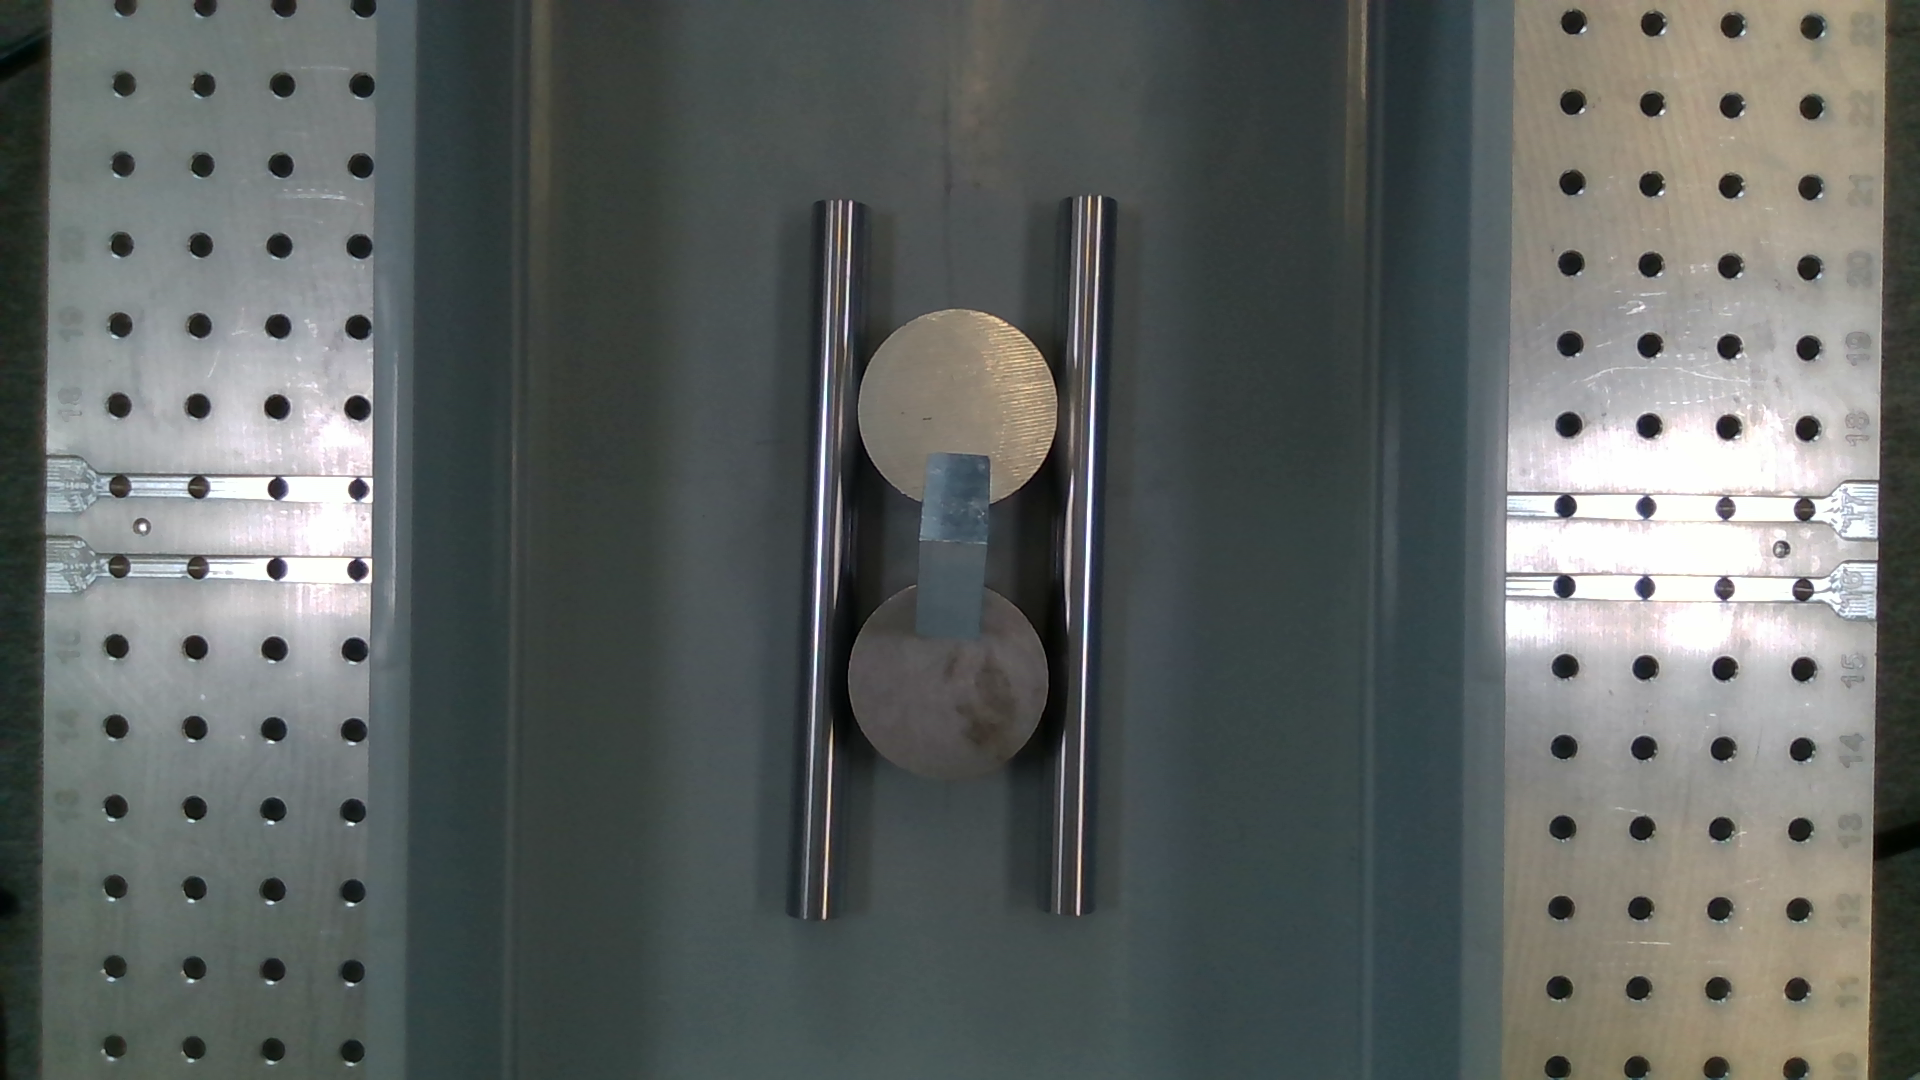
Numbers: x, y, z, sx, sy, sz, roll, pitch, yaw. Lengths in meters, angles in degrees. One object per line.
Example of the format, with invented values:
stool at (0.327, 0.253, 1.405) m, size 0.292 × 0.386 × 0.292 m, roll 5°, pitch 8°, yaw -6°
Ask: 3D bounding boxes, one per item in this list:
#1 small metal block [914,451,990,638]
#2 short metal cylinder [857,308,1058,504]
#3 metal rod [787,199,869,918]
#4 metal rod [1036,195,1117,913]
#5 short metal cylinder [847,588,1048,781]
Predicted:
small metal block at (-0.003, 0.002, 0.528) m, size 0.025 × 0.050 × 0.050 m, roll 3°, pitch 133°, yaw -1°
short metal cylinder at (-0.001, -0.052, 0.573) m, size 0.080 × 0.050 × 0.080 m, roll 0°, pitch 90°, yaw 0°
metal rod at (-0.056, 0.008, 0.586) m, size 0.025 × 0.025 × 0.300 m, roll 2°, pitch 91°, yaw 0°
metal rod at (0.050, 0.006, 0.586) m, size 0.025 × 0.025 × 0.300 m, roll 2°, pitch 91°, yaw 0°
short metal cylinder at (-0.005, 0.056, 0.575) m, size 0.080 × 0.050 × 0.080 m, roll 0°, pitch 90°, yaw 0°
